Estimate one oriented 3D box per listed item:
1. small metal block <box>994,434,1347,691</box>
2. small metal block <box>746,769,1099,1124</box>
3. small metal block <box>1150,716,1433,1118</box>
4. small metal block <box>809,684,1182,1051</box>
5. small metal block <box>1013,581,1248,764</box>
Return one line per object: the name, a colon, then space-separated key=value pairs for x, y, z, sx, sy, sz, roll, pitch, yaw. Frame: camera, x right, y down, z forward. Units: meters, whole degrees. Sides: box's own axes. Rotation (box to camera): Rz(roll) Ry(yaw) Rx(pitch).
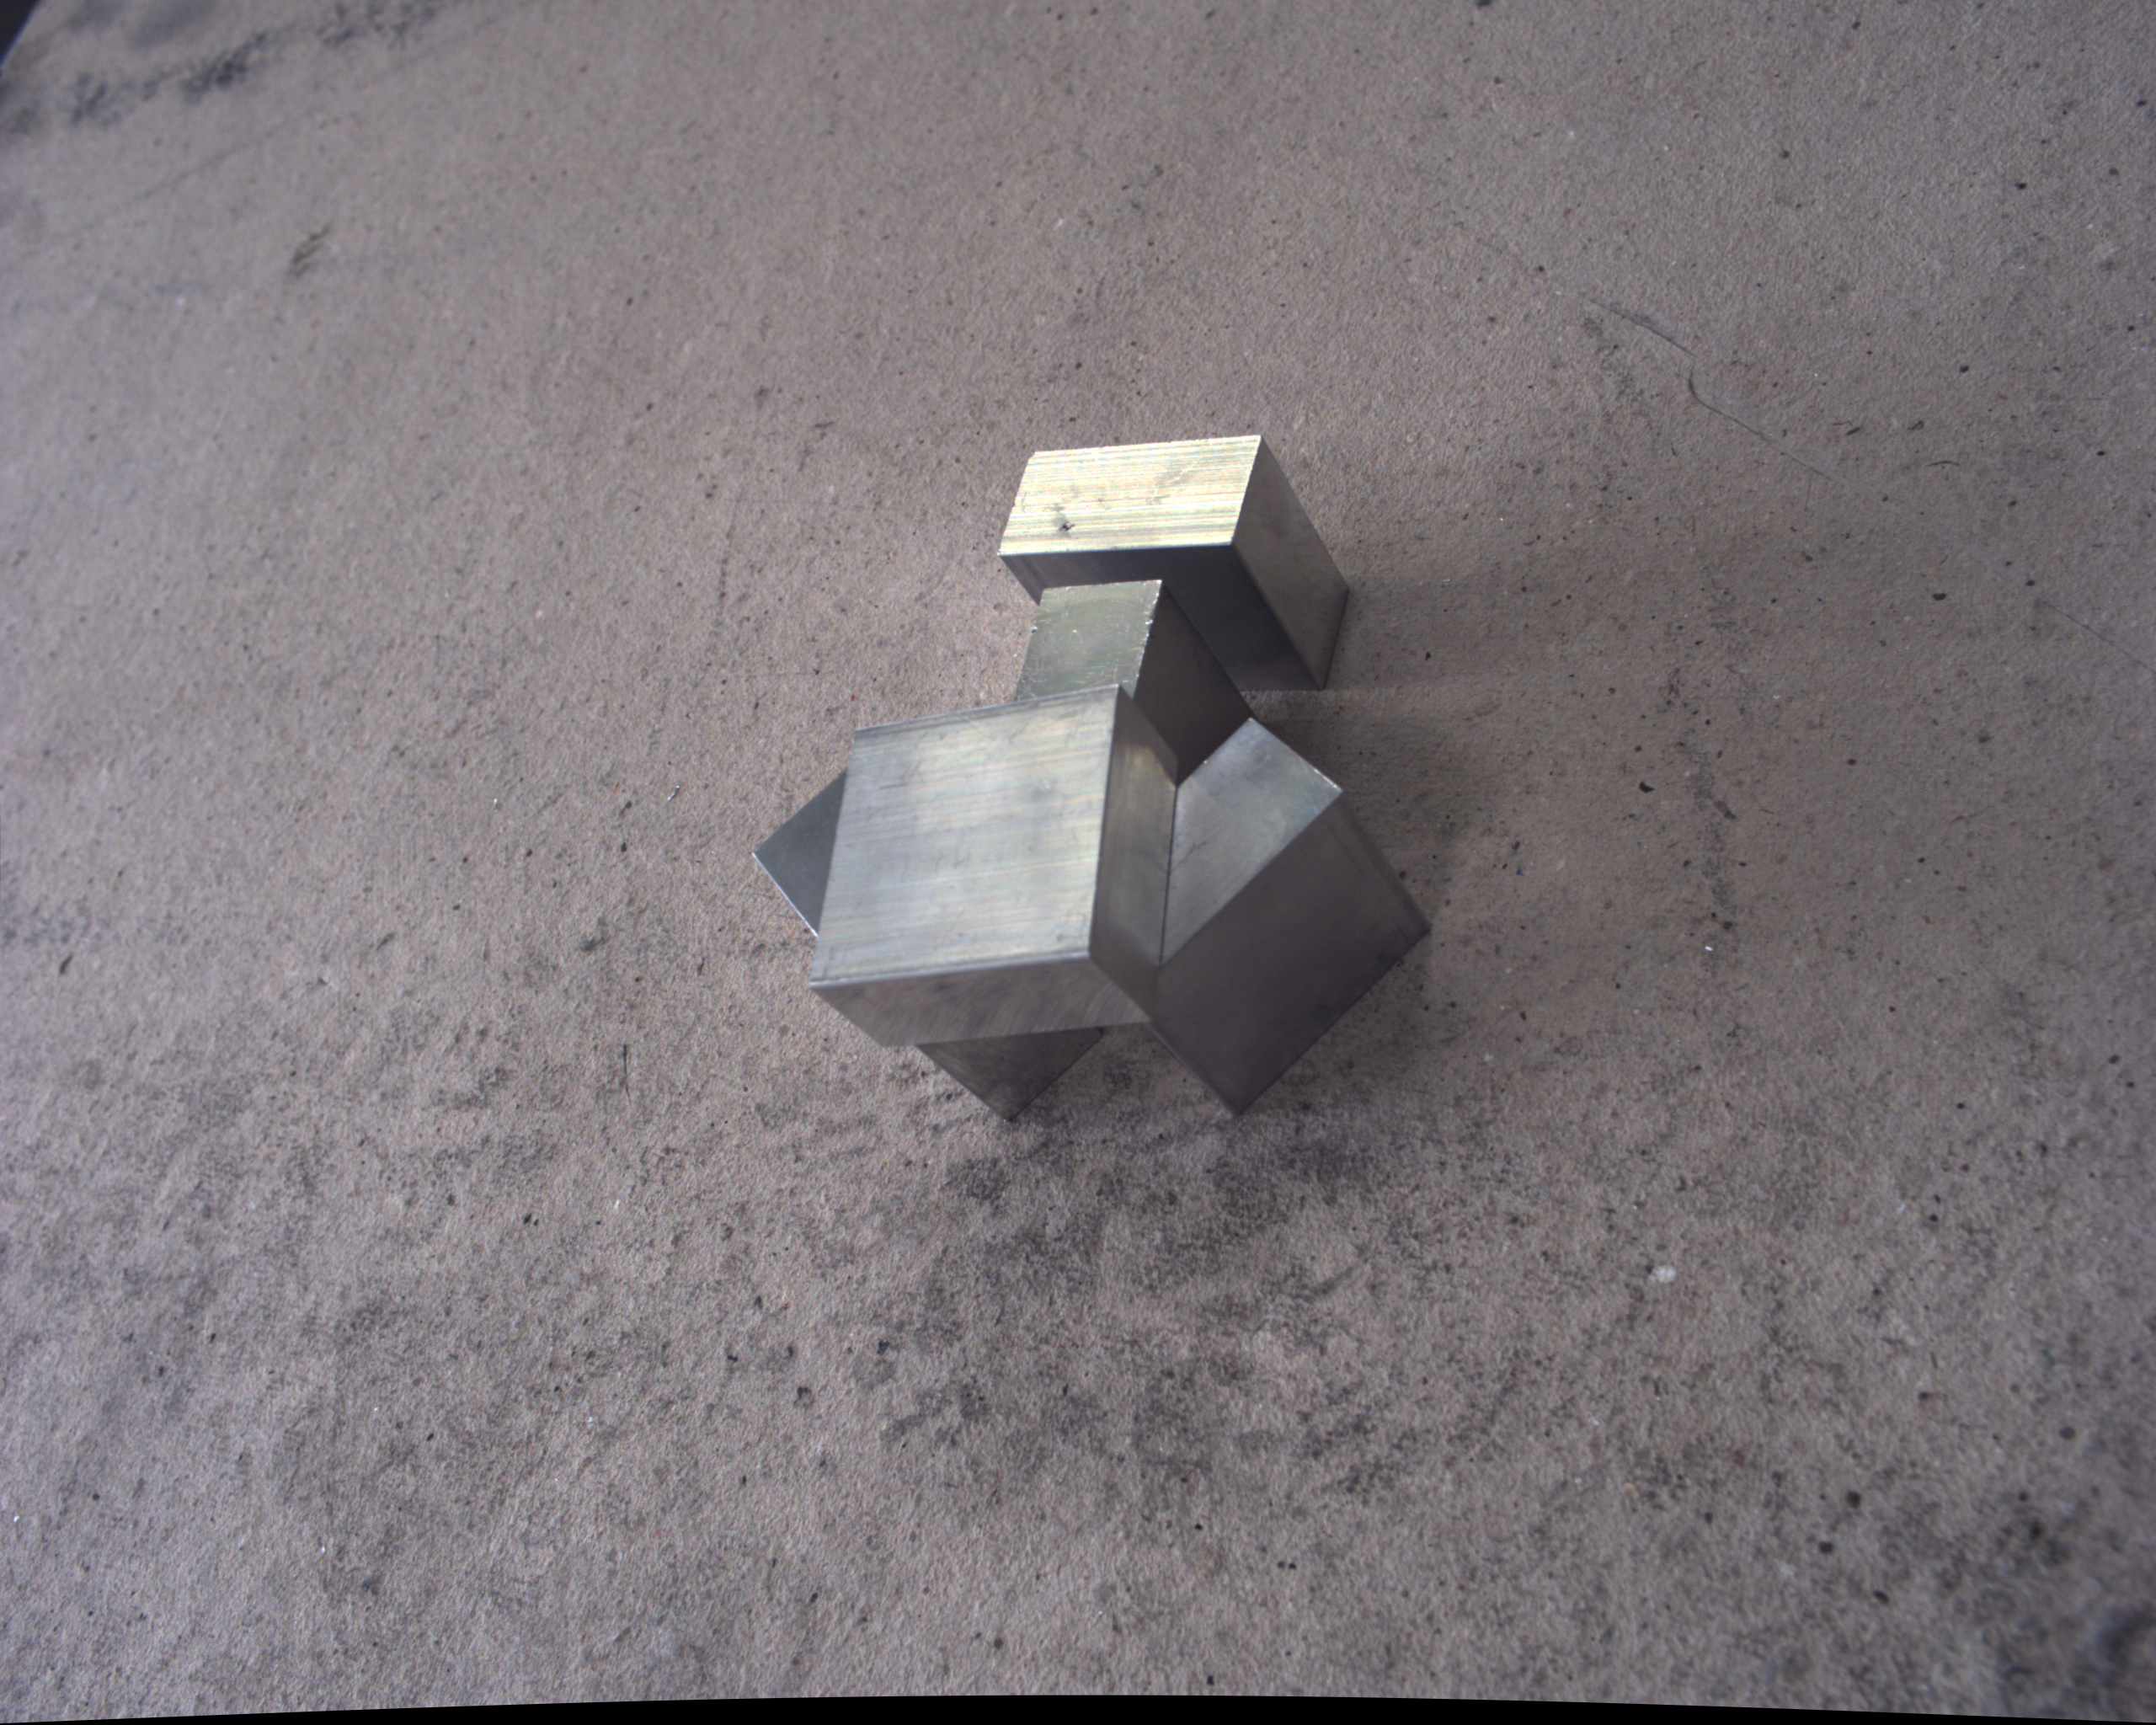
small metal block: x=0.019 y=-0.058 z=0.414 sx=0.050 sy=0.050 sz=0.025 roll=2 pitch=63 yaw=29
small metal block: x=-0.029 y=0.016 z=0.394 sx=0.025 sy=0.050 sz=0.050 roll=-42 pitch=52 yaw=-1
small metal block: x=0.029 y=0.011 z=0.368 sx=0.050 sy=0.050 sz=0.025 roll=-45 pitch=51 yaw=-2
small metal block: x=-0.013 y=0.001 z=0.348 sx=0.050 sy=0.025 sz=0.050 roll=-8 pitch=58 yaw=24
small metal block: x=0.009 y=-0.018 z=0.396 sx=0.025 sy=0.050 sz=0.050 roll=0 pitch=61 yaw=27
